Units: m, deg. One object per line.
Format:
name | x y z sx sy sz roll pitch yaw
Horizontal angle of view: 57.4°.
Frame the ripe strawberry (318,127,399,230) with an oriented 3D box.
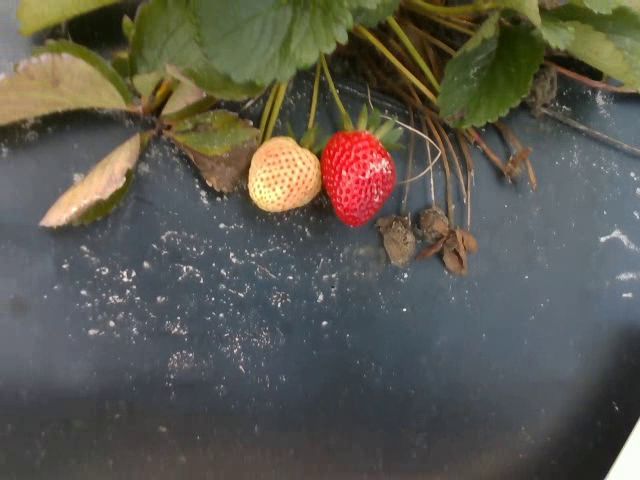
ripe strawberry | 0.014 -0.023 0.215 0.034 0.042 0.033 39 -47 -21
